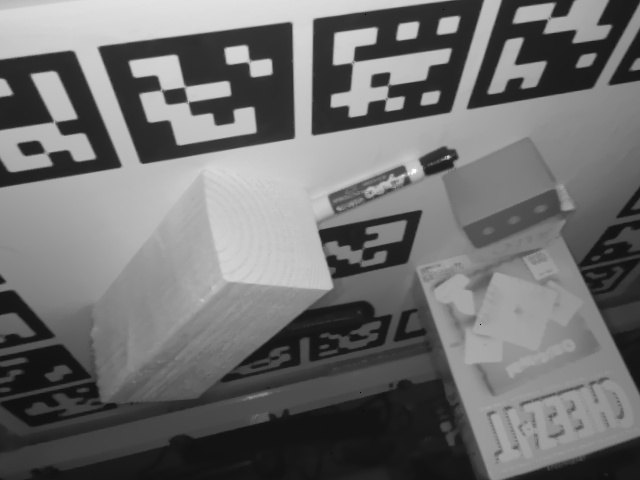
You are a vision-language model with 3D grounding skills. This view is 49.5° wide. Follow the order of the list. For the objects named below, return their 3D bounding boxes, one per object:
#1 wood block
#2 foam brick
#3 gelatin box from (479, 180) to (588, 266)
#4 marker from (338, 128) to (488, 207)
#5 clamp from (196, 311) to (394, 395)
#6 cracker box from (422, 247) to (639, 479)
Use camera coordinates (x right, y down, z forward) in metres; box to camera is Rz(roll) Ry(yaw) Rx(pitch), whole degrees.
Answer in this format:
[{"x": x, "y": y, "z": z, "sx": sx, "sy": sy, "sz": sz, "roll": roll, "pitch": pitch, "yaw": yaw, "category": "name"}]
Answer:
[{"x": -0.078, "y": 0.036, "z": 0.548, "sx": 0.091, "sy": 0.091, "sz": 0.203, "roll": 11, "pitch": 138, "yaw": -38, "category": "wood block"}, {"x": 0.163, "y": -0.045, "z": 0.572, "sx": 0.077, "sy": 0.051, "sz": 0.053, "roll": -26, "pitch": 143, "yaw": 11, "category": "foam brick"}, {"x": 0.200, "y": -0.015, "z": 0.652, "sx": 0.090, "sy": 0.030, "sz": 0.072, "roll": -12, "pitch": 143, "yaw": -9, "category": "gelatin box"}, {"x": 0.073, "y": -0.057, "z": 0.541, "sx": 0.121, "sy": 0.020, "sz": 0.019, "roll": -23, "pitch": 143, "yaw": 6, "category": "marker"}, {"x": -0.047, "y": 0.099, "z": 0.688, "sx": 0.201, "sy": 0.037, "sz": 0.166, "roll": -30, "pitch": 143, "yaw": 16, "category": "clamp"}, {"x": 0.209, "y": 0.124, "z": 0.673, "sx": 0.165, "sy": 0.214, "sz": 0.071, "roll": -12, "pitch": 146, "yaw": -5, "category": "cracker box"}]
